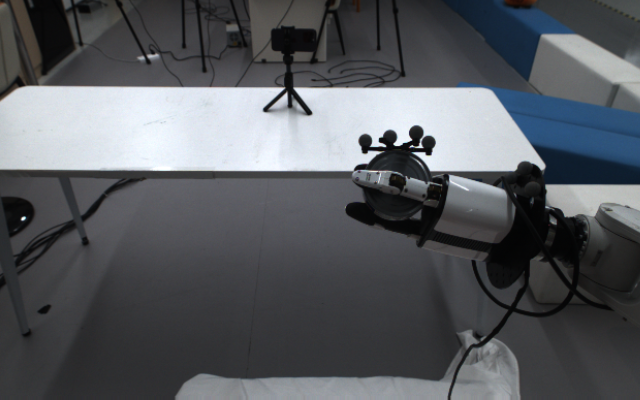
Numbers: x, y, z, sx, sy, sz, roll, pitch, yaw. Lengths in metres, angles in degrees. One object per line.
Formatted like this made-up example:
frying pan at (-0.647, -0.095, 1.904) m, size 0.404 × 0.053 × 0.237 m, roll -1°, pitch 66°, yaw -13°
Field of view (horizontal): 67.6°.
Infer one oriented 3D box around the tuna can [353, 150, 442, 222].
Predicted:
tuna can at (0.095, -0.019, 0.606) m, size 0.085 × 0.034 × 0.085 m, roll -1°, pitch 76°, yaw 4°
